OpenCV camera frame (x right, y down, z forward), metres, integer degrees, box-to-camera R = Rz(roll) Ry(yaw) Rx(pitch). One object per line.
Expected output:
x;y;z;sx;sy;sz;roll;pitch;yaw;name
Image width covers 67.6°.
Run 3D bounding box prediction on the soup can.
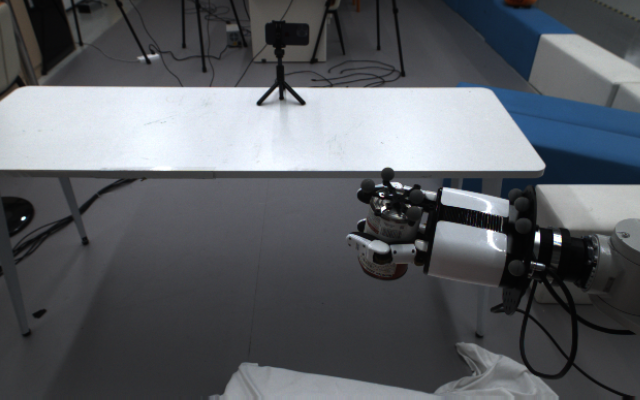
0.091;0.044;0.622;0.067;0.101;0.067;5;36;-3;soup can
